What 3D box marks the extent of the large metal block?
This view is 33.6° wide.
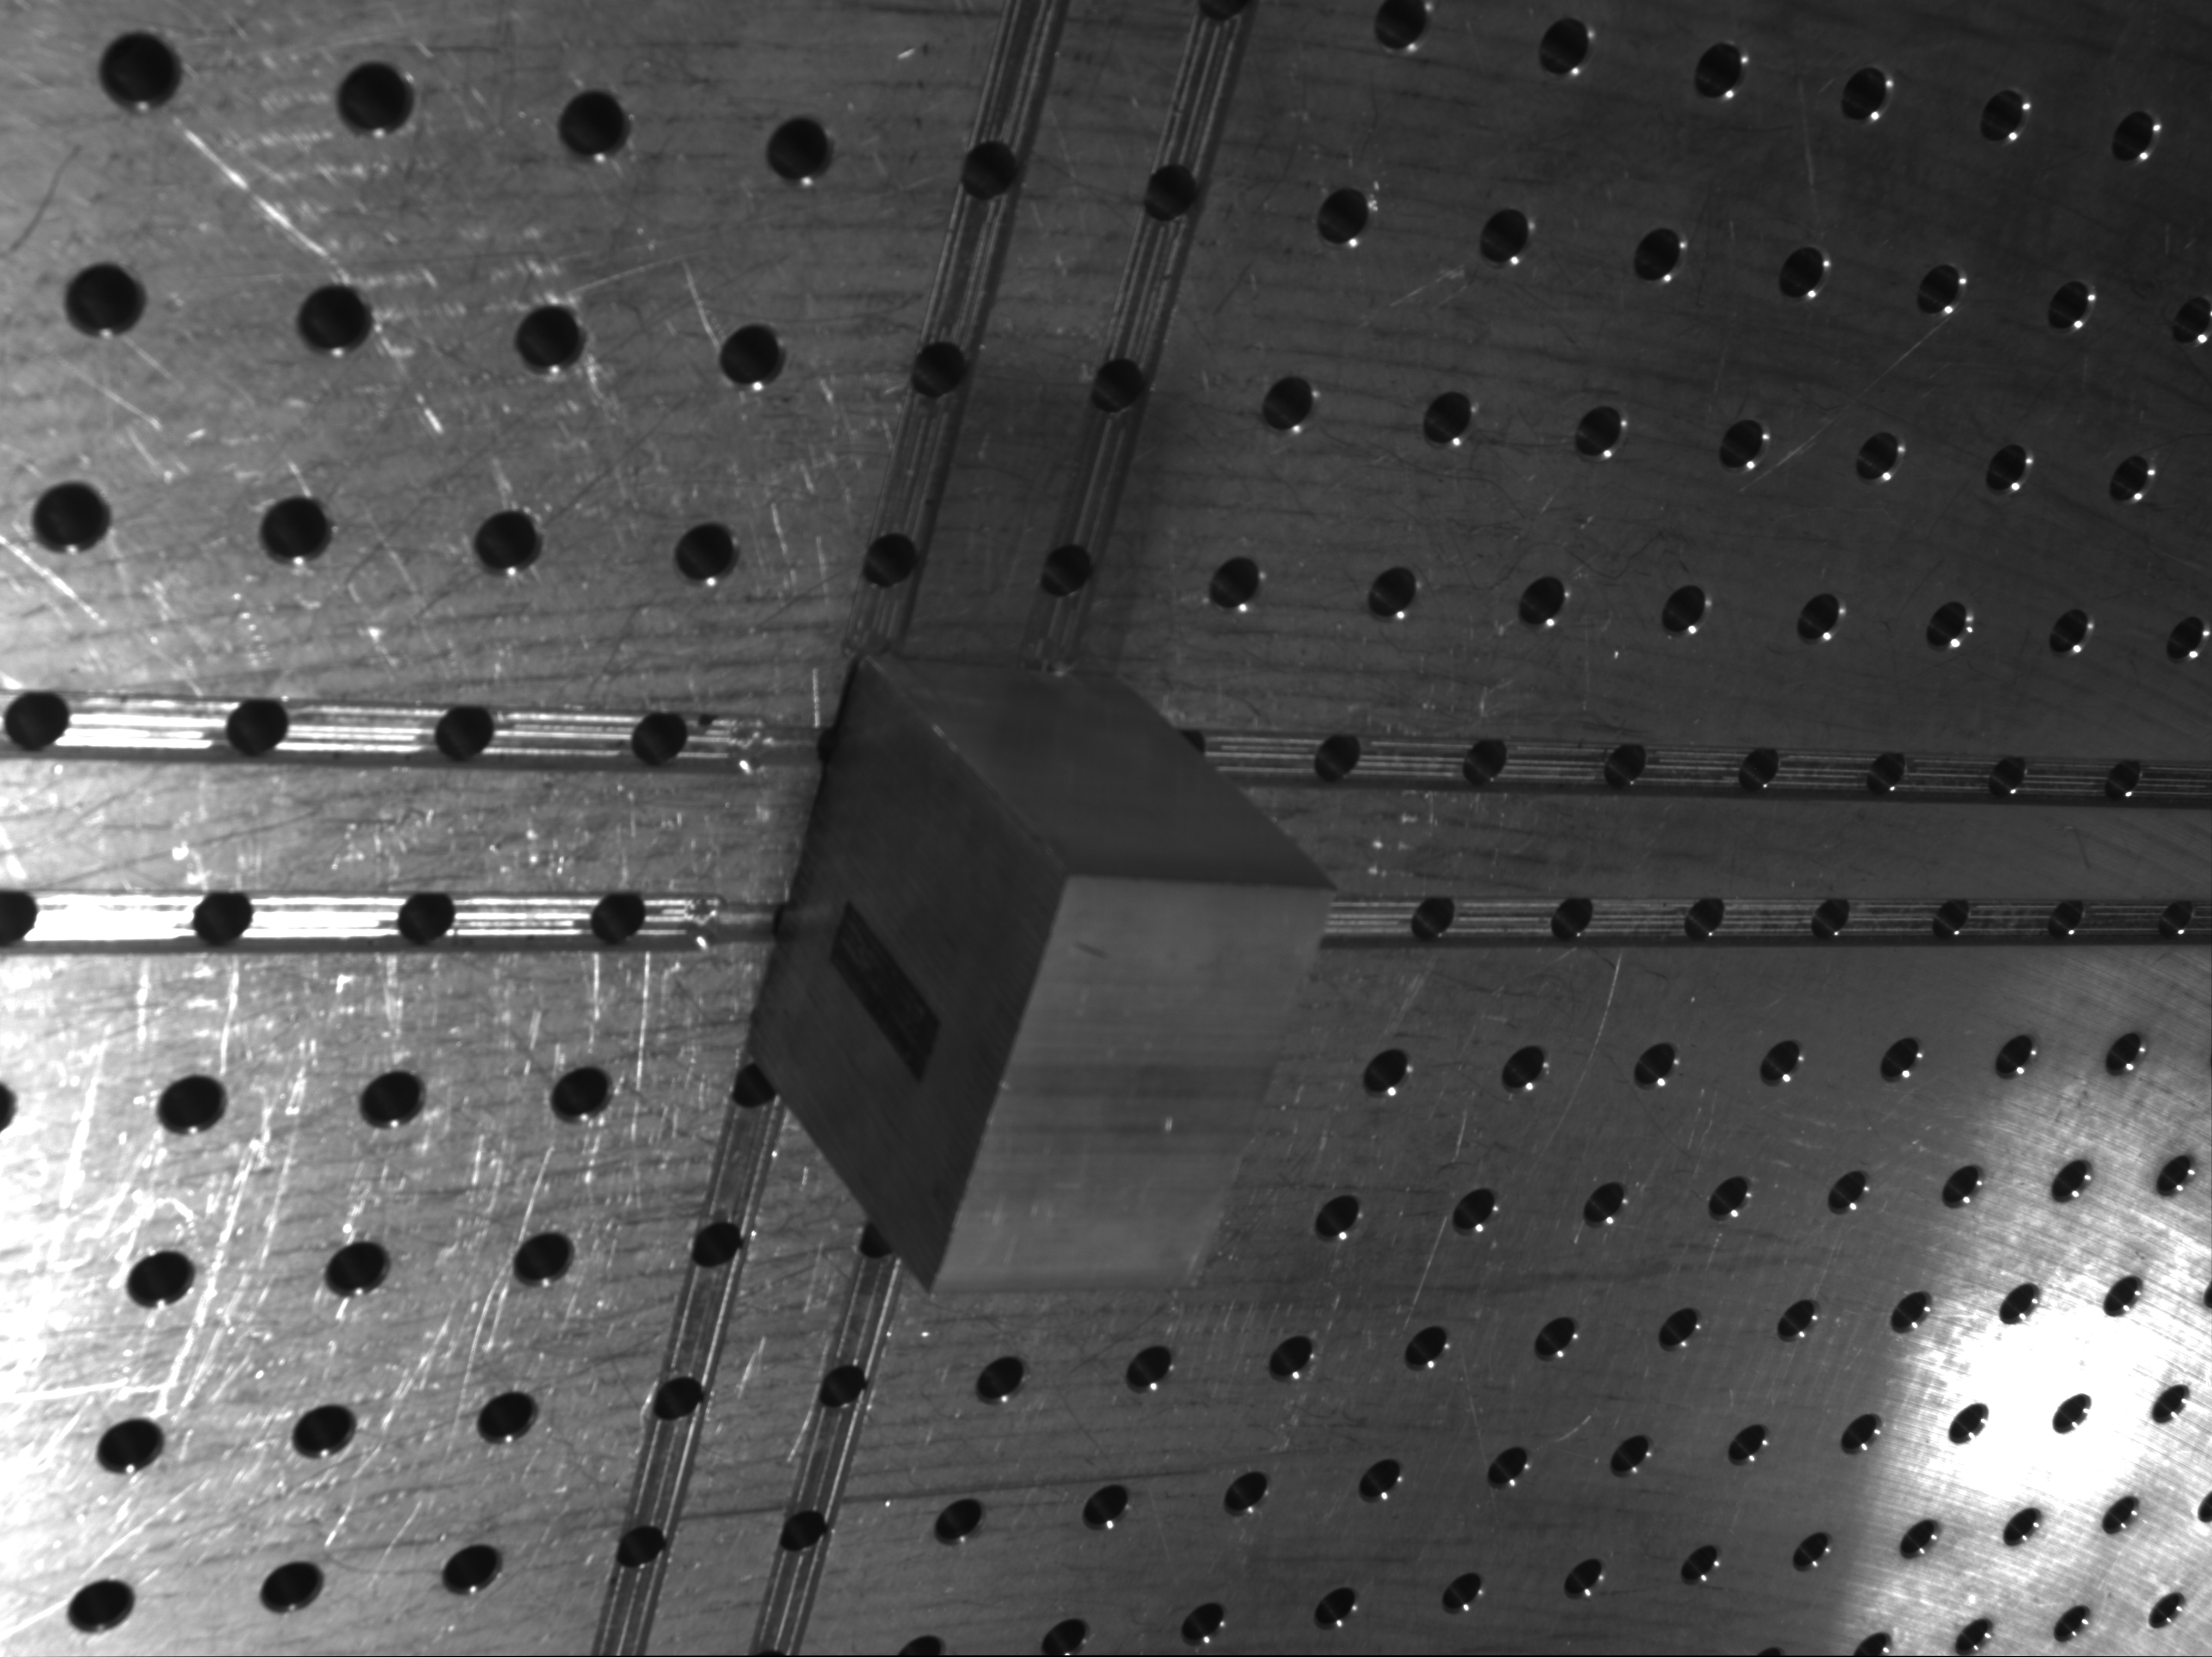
[{"bbox_3d":[-0.006,0.026,0.630,0.050,0.080,0.080,4,116,-32],"label":"large metal block"}]
